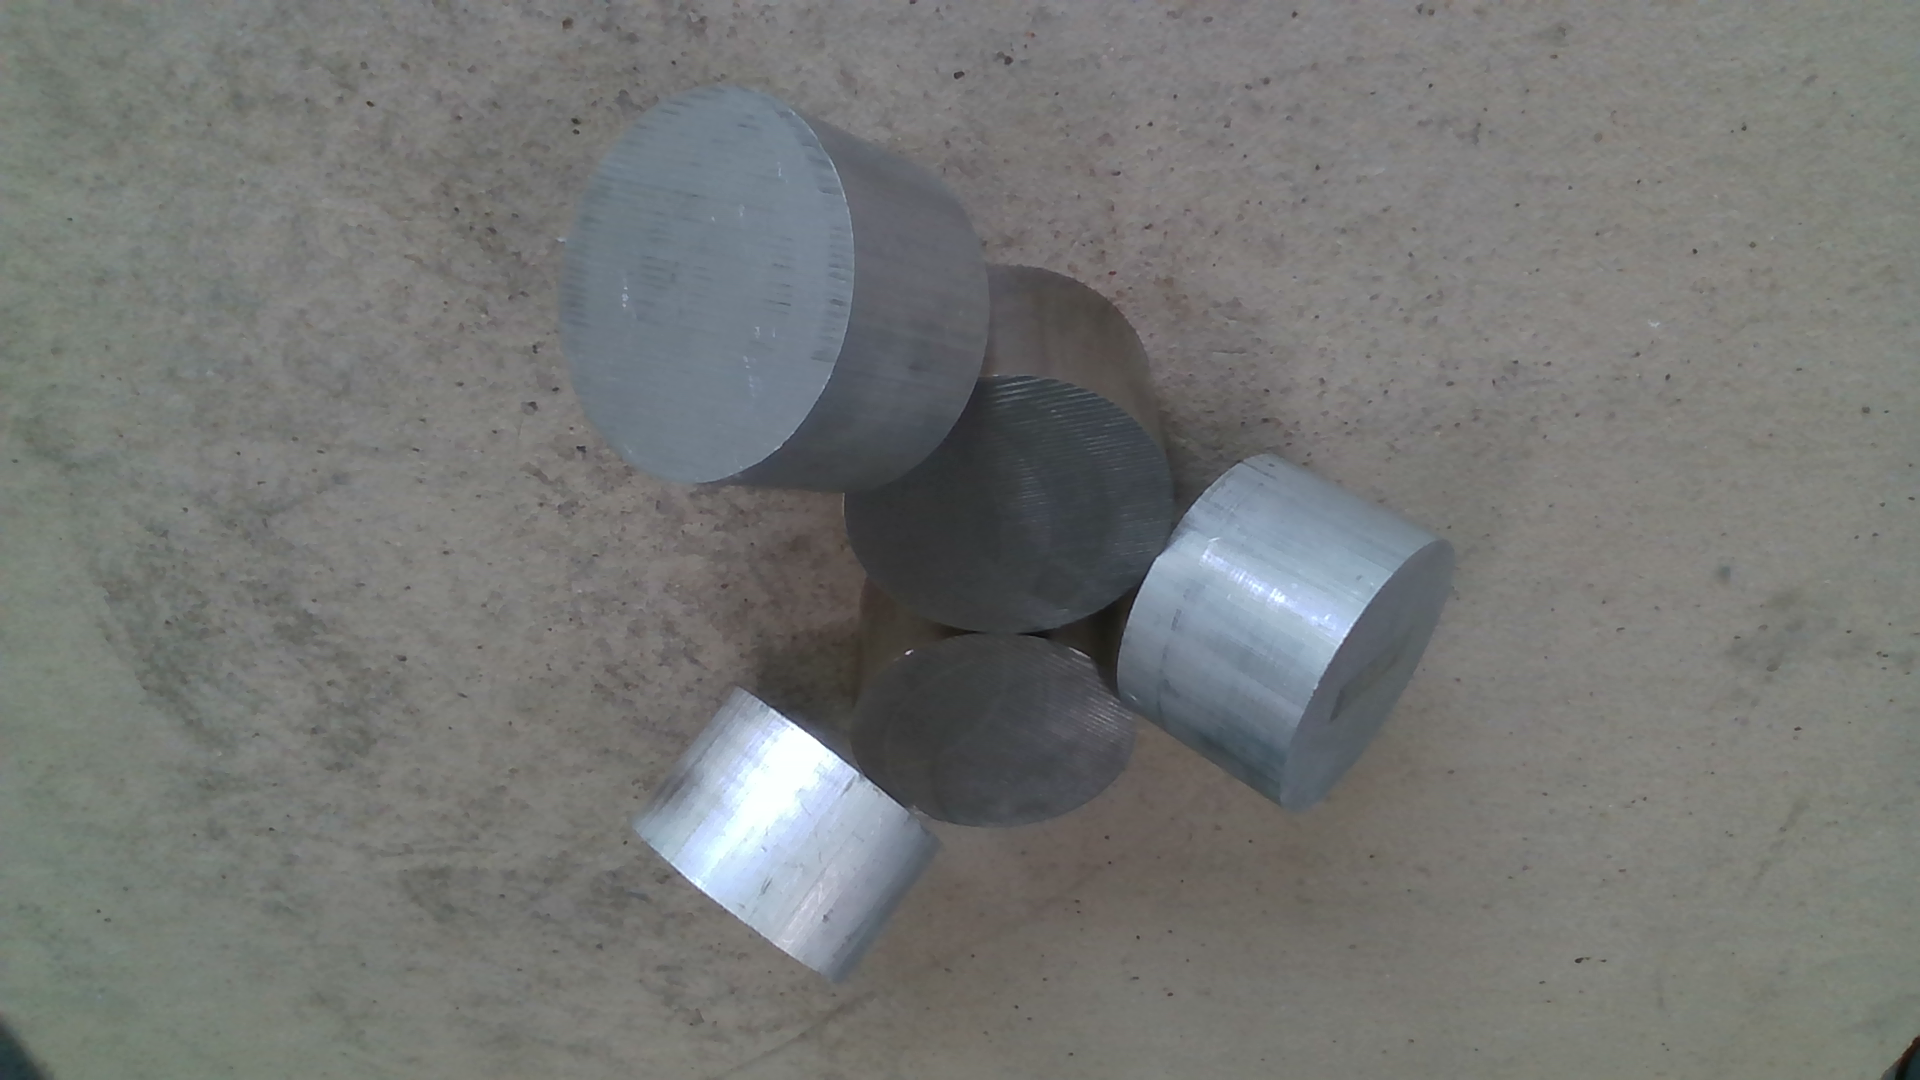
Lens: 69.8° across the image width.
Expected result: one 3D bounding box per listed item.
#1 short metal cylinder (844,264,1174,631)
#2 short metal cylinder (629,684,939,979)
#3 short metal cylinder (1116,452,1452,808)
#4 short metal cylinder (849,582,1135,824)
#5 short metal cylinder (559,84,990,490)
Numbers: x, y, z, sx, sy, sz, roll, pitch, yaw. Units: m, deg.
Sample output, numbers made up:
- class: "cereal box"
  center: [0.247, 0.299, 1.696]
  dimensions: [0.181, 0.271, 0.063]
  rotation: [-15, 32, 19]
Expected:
- class: "short metal cylinder"
  center: [0.012, -0.023, 0.353]
  dimensions: [0.080, 0.050, 0.080]
  rotation: [0, 130, 0]
- class: "short metal cylinder"
  center: [-0.053, 0.088, 0.419]
  dimensions: [0.080, 0.080, 0.050]
  rotation: [45, 75, -31]
- class: "short metal cylinder"
  center: [0.086, 0.023, 0.365]
  dimensions: [0.050, 0.080, 0.080]
  rotation: [32, 138, 30]
- class: "short metal cylinder"
  center: [0.009, 0.038, 0.405]
  dimensions: [0.080, 0.050, 0.080]
  rotation: [0, 130, 0]
- class: "short metal cylinder"
  center: [-0.041, -0.052, 0.301]
  dimensions: [0.080, 0.080, 0.050]
  rotation: [-36, 161, 26]
